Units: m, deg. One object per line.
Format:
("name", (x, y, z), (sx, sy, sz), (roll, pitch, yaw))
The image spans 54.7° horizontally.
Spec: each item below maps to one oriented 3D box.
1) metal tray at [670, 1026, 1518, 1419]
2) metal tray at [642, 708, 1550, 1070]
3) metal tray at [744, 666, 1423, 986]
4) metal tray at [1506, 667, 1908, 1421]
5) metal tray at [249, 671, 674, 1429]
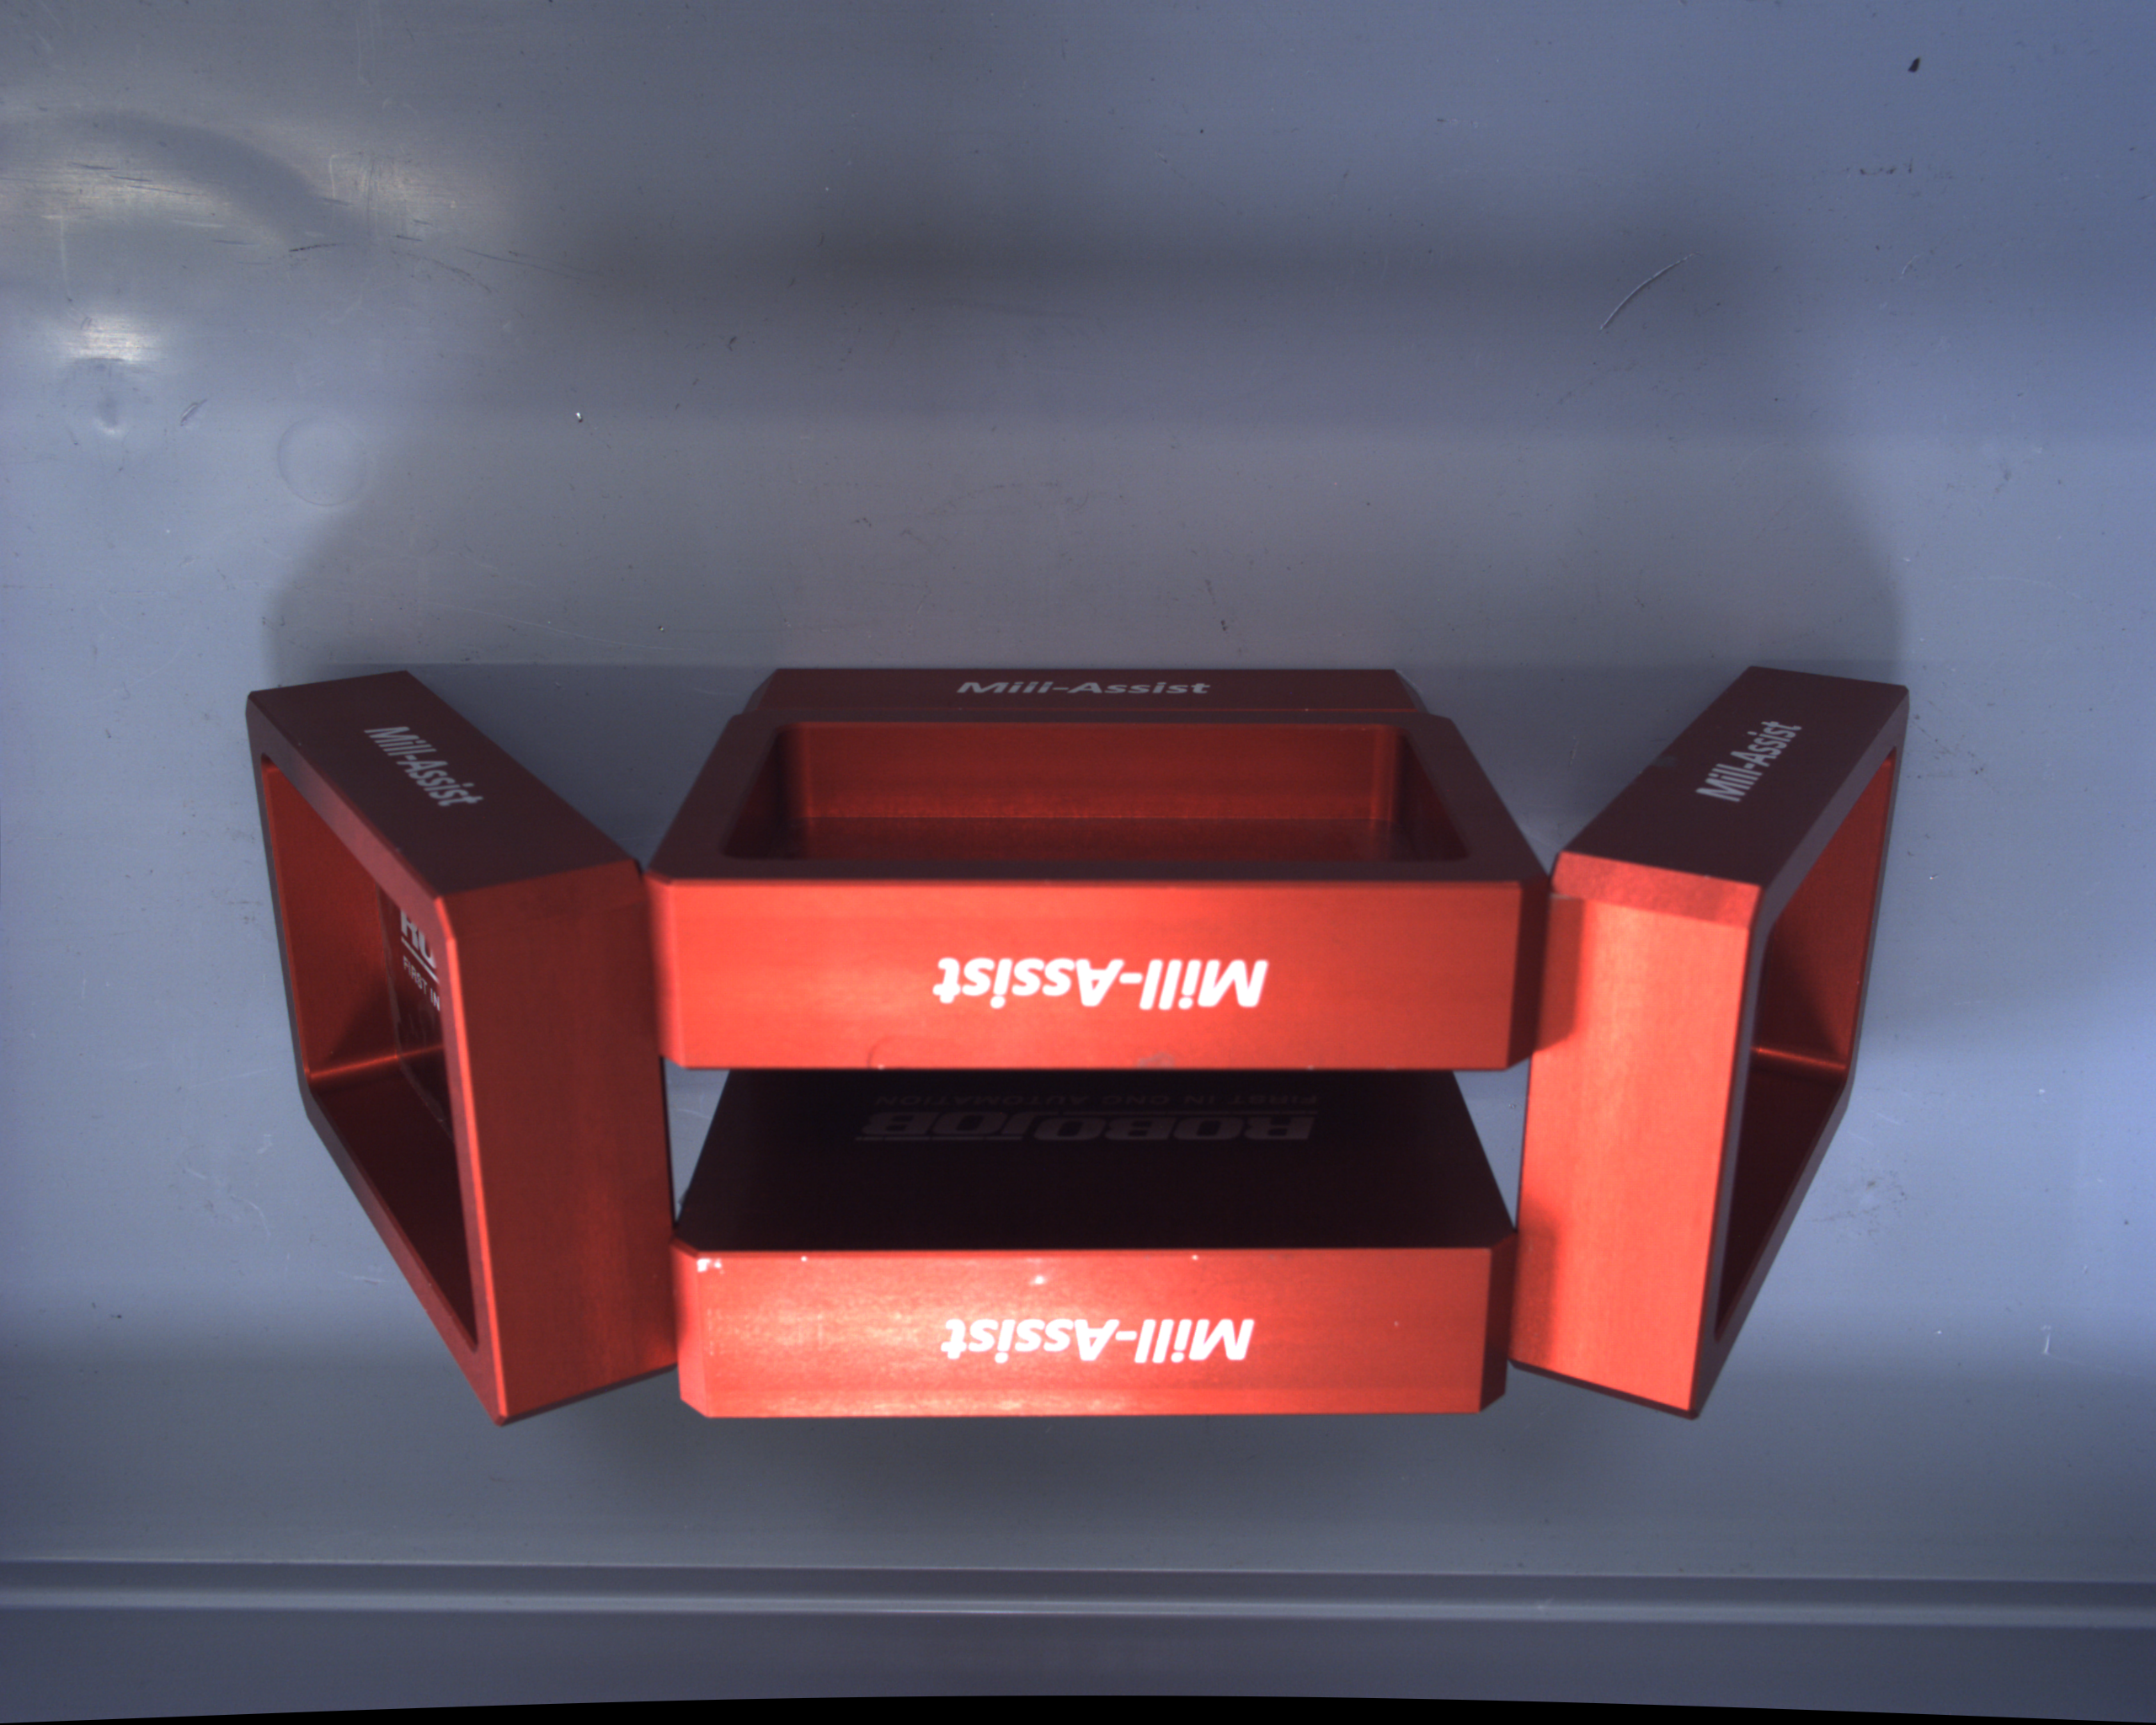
("metal tray", (0.002, 0.058, 0.364), (0.131, 0.090, 0.030), (0, 110, -1))
("metal tray", (0.003, 0.001, 0.343), (0.131, 0.090, 0.030), (0, 110, -1))
("metal tray", (0.002, 0.009, 0.410), (0.131, 0.030, 0.089), (-1, 110, -1))
("metal tray", (0.113, 0.024, 0.365), (0.030, 0.131, 0.089), (12, 113, 27))
("metal tray", (-0.110, 0.026, 0.364), (0.030, 0.130, 0.089), (-12, 114, -30))
